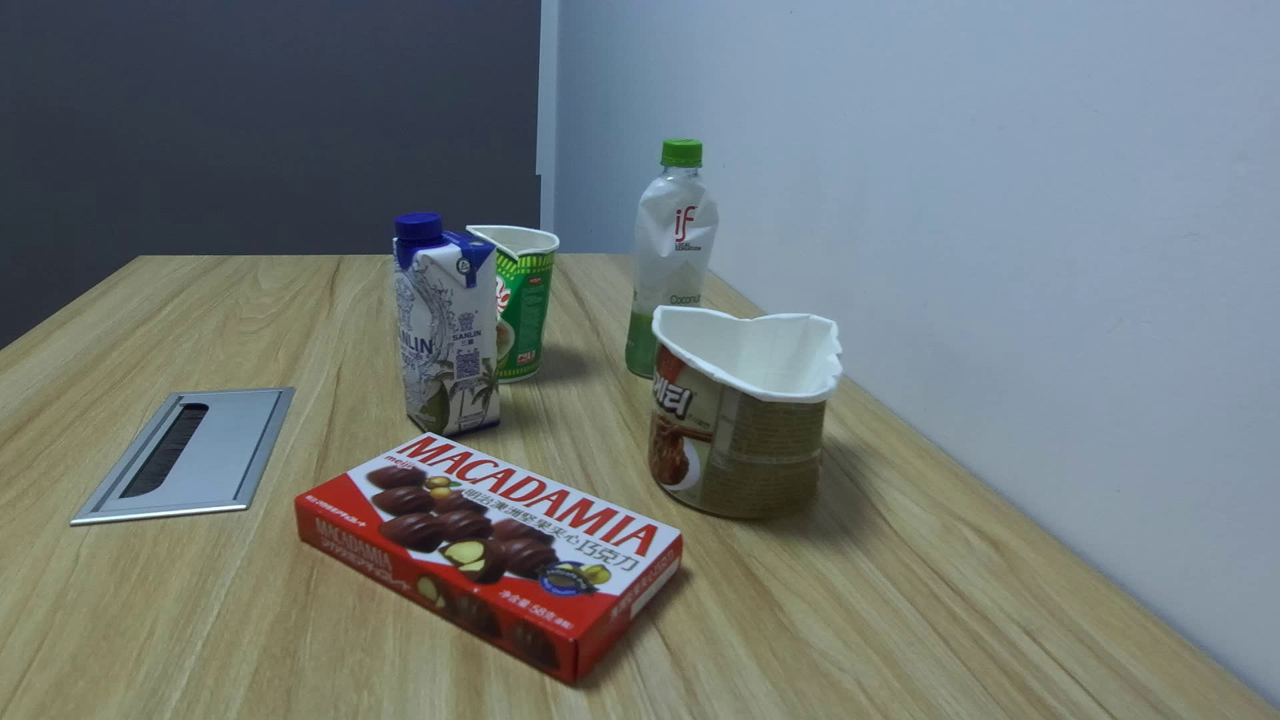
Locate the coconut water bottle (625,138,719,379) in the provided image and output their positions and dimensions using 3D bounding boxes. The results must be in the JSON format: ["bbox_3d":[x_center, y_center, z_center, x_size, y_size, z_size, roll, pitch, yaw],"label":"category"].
[{"bbox_3d":[0.025,-0.079,0.566,0.067,0.187,0.067,5,19,-1],"label":"coconut water bottle"}]

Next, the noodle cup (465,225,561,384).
[{"bbox_3d":[-0.110,-0.045,0.566,0.075,0.122,0.082,7,13,-14],"label":"noodle cup"}]

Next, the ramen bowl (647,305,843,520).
[{"bbox_3d":[0.063,0.031,0.426,0.113,0.097,0.133,4,22,-1],"label":"ramen bowl"}]

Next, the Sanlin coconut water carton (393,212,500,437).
[{"bbox_3d":[-0.129,-0.025,0.473,0.061,0.144,0.060,-13,27,-37],"label":"Sanlin coconut water carton"}]

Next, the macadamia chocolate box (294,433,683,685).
[{"bbox_3d":[-0.078,0.090,0.361,0.177,0.027,0.096,16,24,26],"label":"macadamia chocolate box"}]
